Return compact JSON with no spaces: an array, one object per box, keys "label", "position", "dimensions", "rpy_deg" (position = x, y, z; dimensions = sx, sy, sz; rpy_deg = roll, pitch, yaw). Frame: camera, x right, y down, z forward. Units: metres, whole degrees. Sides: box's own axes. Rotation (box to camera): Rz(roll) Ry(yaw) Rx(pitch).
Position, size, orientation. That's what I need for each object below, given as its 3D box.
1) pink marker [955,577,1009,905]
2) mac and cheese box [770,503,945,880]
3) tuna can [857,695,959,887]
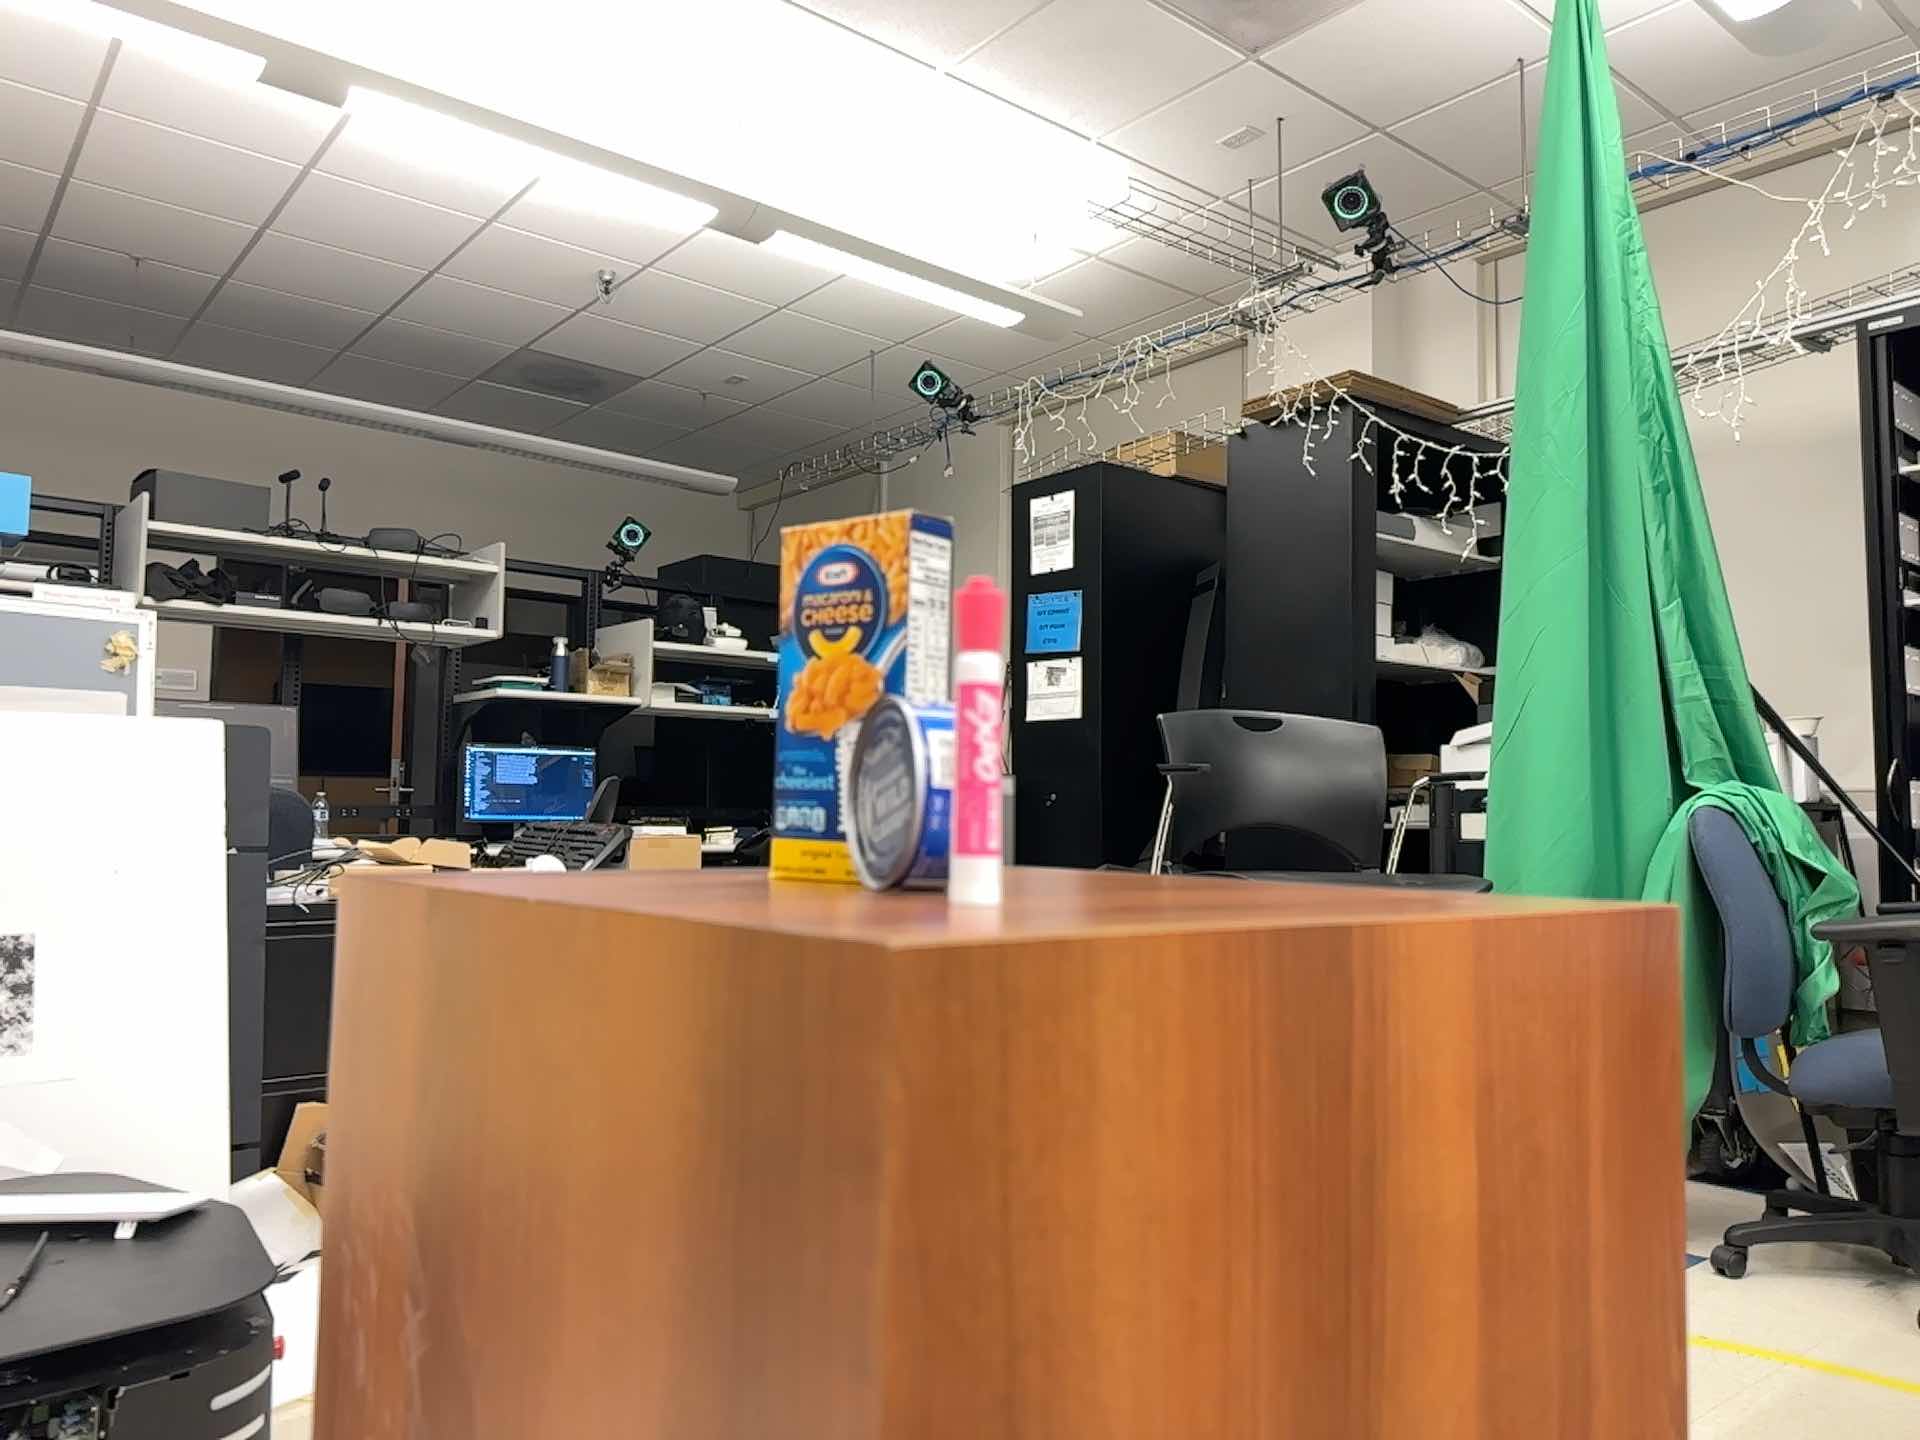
[{"label":"pink marker","position":[0.008,0.007,0.499],"dimensions":[0.020,0.121,0.020],"rpy_deg":[0,-3,0]},{"label":"mac and cheese box","position":[-0.053,-0.012,0.686],"dimensions":[0.088,0.181,0.035],"rpy_deg":[-2,-4,42]},{"label":"tuna can","position":[-0.018,0.032,0.598],"dimensions":[0.034,0.083,0.083],"rpy_deg":[3,-4,-22]}]
